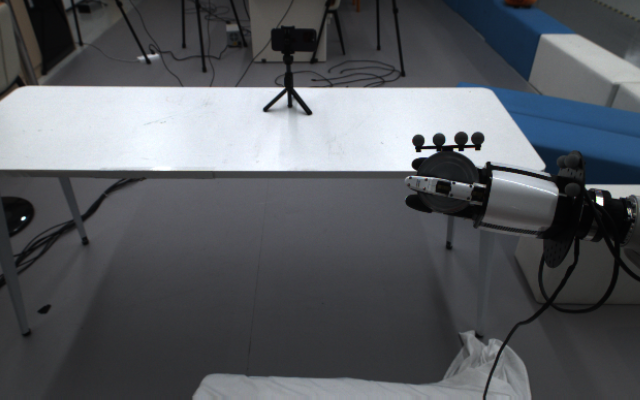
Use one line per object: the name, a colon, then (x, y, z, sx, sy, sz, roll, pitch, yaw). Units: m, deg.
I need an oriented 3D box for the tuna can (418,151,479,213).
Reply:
tuna can: (0.179, -0.028, 0.679, 0.085, 0.085, 0.034, 15, 10, 18)
